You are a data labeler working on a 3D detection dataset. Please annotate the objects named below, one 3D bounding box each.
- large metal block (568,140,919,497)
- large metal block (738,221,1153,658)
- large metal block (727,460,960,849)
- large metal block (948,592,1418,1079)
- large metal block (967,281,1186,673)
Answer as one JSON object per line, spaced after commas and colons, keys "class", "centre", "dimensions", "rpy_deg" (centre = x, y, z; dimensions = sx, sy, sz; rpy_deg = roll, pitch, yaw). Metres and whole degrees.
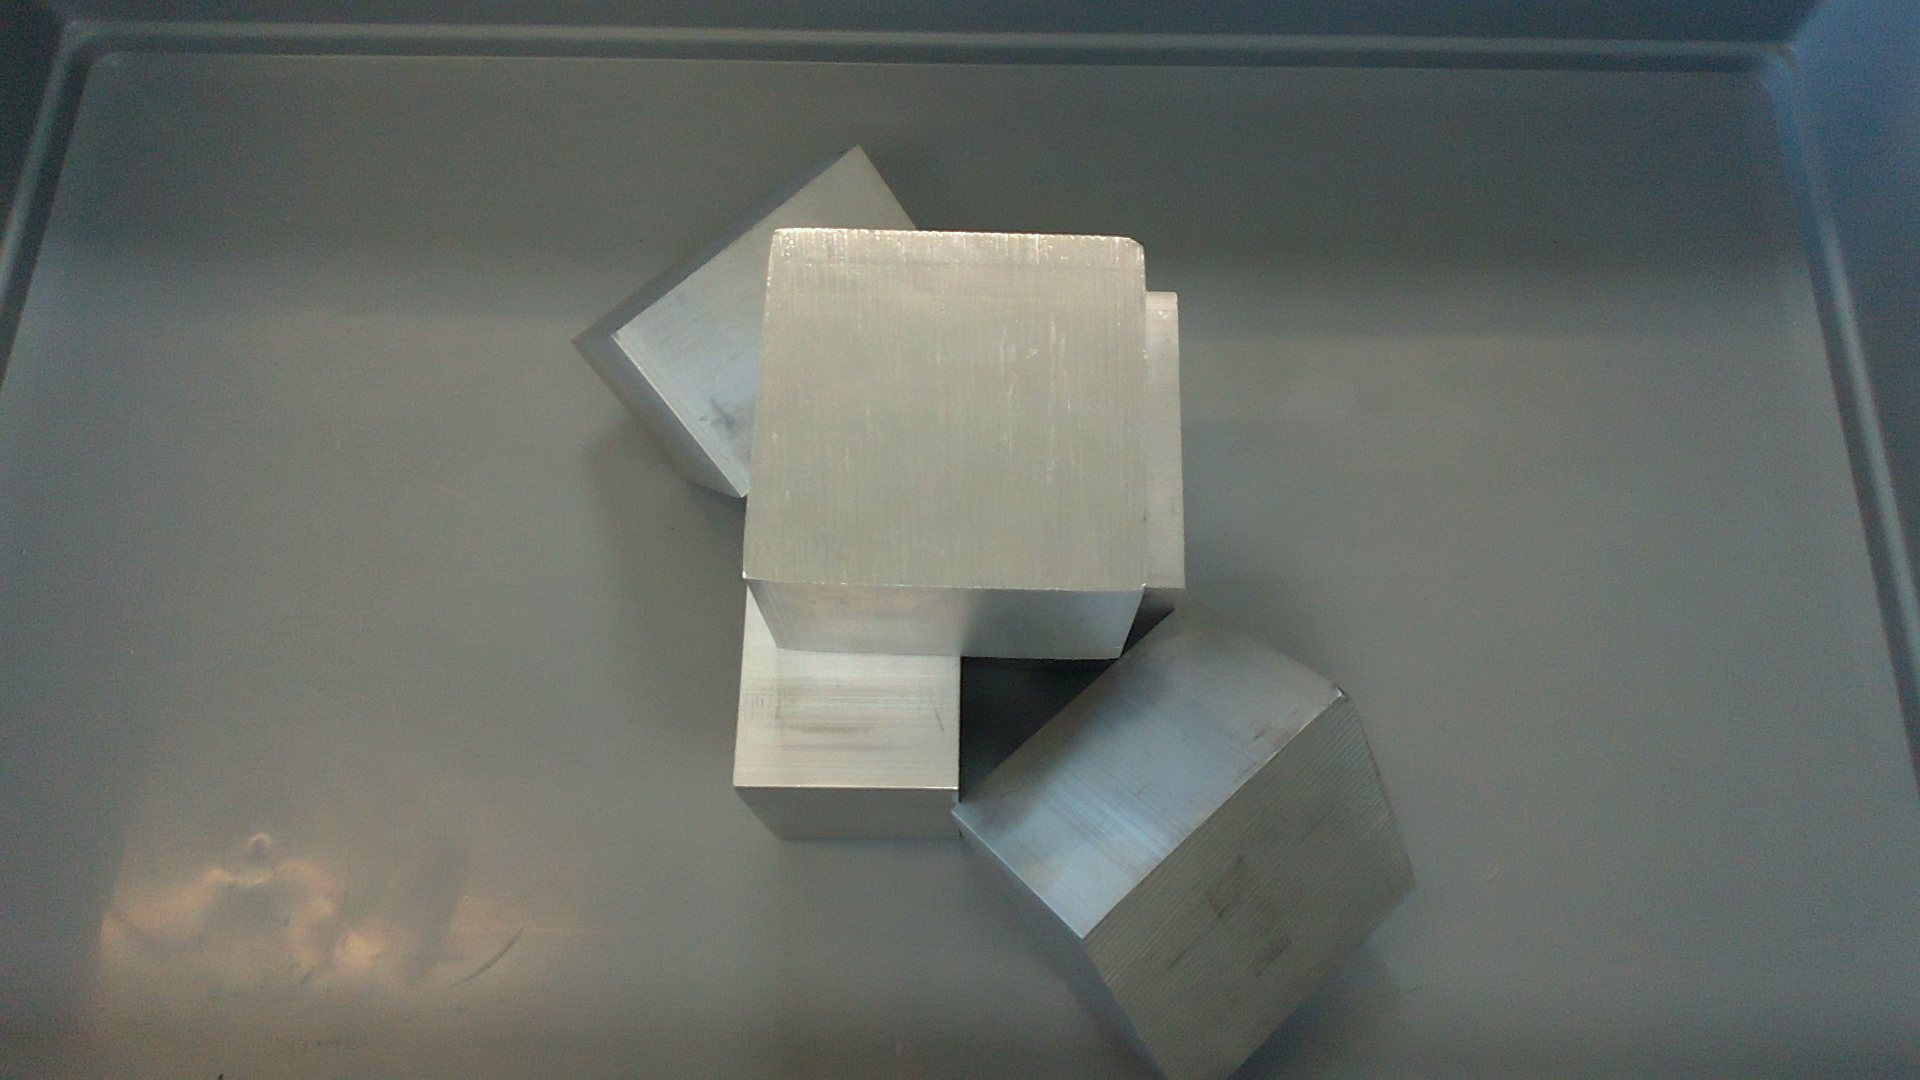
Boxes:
{"class": "large metal block", "centre": [-0.055, -0.060, 0.378], "dimensions": [0.080, 0.080, 0.050], "rpy_deg": [-41, 110, -14]}
{"class": "large metal block", "centre": [-0.001, -0.021, 0.302], "dimensions": [0.080, 0.050, 0.080], "rpy_deg": [2, 70, 1]}
{"class": "large metal block", "centre": [-0.025, 0.032, 0.352], "dimensions": [0.050, 0.080, 0.080], "rpy_deg": [1, 70, 0]}
{"class": "large metal block", "centre": [0.056, 0.074, 0.329], "dimensions": [0.080, 0.080, 0.050], "rpy_deg": [-40, 39, -13]}
{"class": "large metal block", "centre": [0.028, -0.014, 0.368], "dimensions": [0.050, 0.080, 0.080], "rpy_deg": [1, 70, 0]}
